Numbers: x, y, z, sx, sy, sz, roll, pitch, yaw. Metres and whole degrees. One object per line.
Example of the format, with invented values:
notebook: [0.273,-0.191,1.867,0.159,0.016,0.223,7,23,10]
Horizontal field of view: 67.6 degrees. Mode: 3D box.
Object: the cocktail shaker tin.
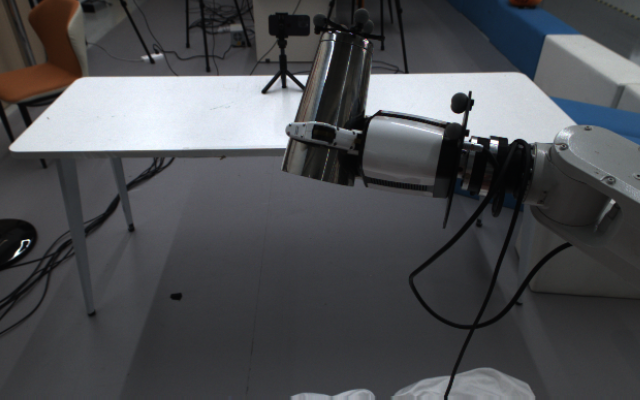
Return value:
cocktail shaker tin: [0.015,-0.109,0.589,0.093,0.170,0.093,13,4,-1]
